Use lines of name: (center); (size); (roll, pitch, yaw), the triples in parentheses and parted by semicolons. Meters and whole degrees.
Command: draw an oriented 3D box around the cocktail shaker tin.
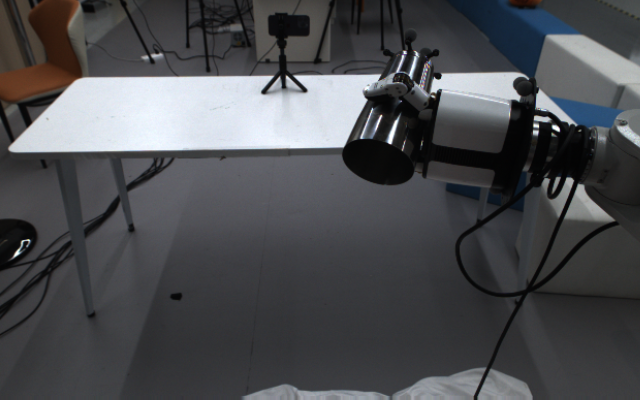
cocktail shaker tin: (0.097, -0.113, 0.632); (0.093, 0.093, 0.170); (14, 61, 17)
